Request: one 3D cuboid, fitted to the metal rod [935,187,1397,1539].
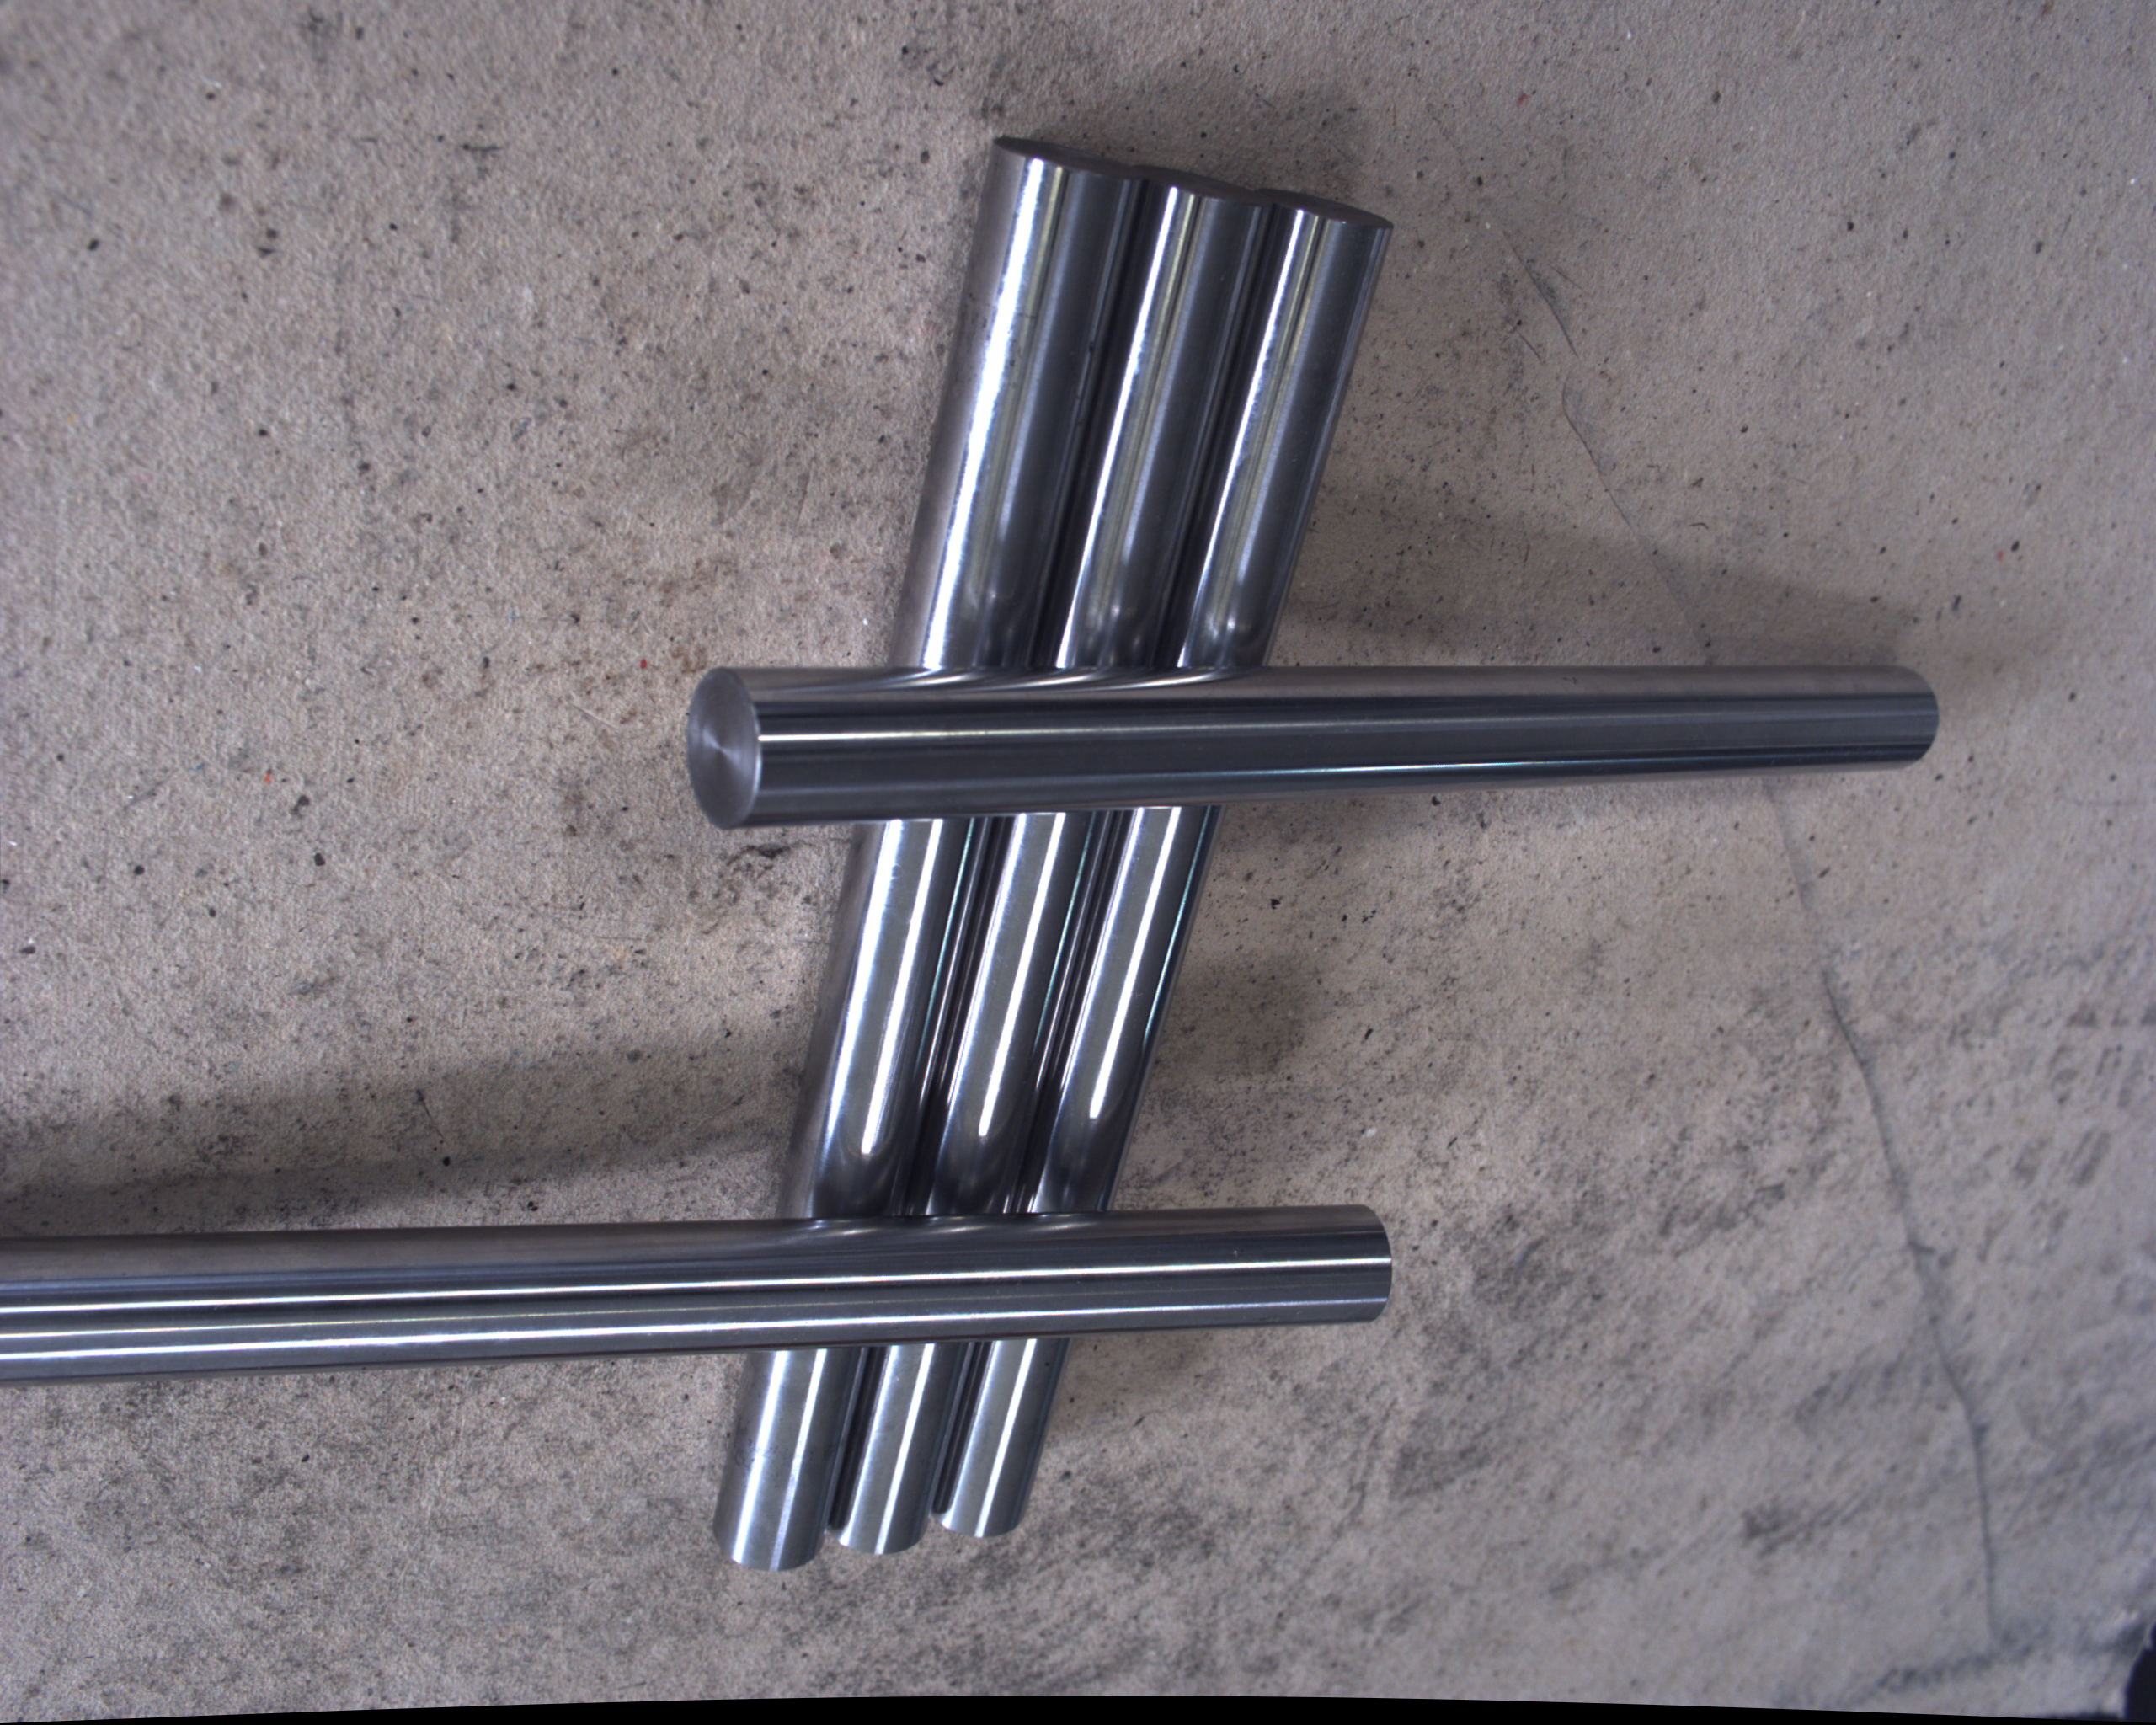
[{"bbox_3d":[0.009,0.017,0.423,0.025,0.025,0.298,0,119,-29],"label":"metal rod"}]

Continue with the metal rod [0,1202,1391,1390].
[{"bbox_3d":[-0.080,0.079,0.388,0.302,0.025,0.025,2,118,-22],"label":"metal rod"}]

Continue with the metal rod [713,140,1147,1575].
[{"bbox_3d":[-0.035,0.017,0.399,0.025,0.025,0.298,0,119,-29],"label":"metal rod"}]

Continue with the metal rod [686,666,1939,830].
[{"bbox_3d":[0.069,-0.026,0.405,0.303,0.025,0.025,-4,121,-35],"label":"metal rod"}]

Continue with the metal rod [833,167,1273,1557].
[{"bbox_3d":[-0.013,0.018,0.411,0.025,0.025,0.298,0,119,-28],"label":"metal rod"}]
